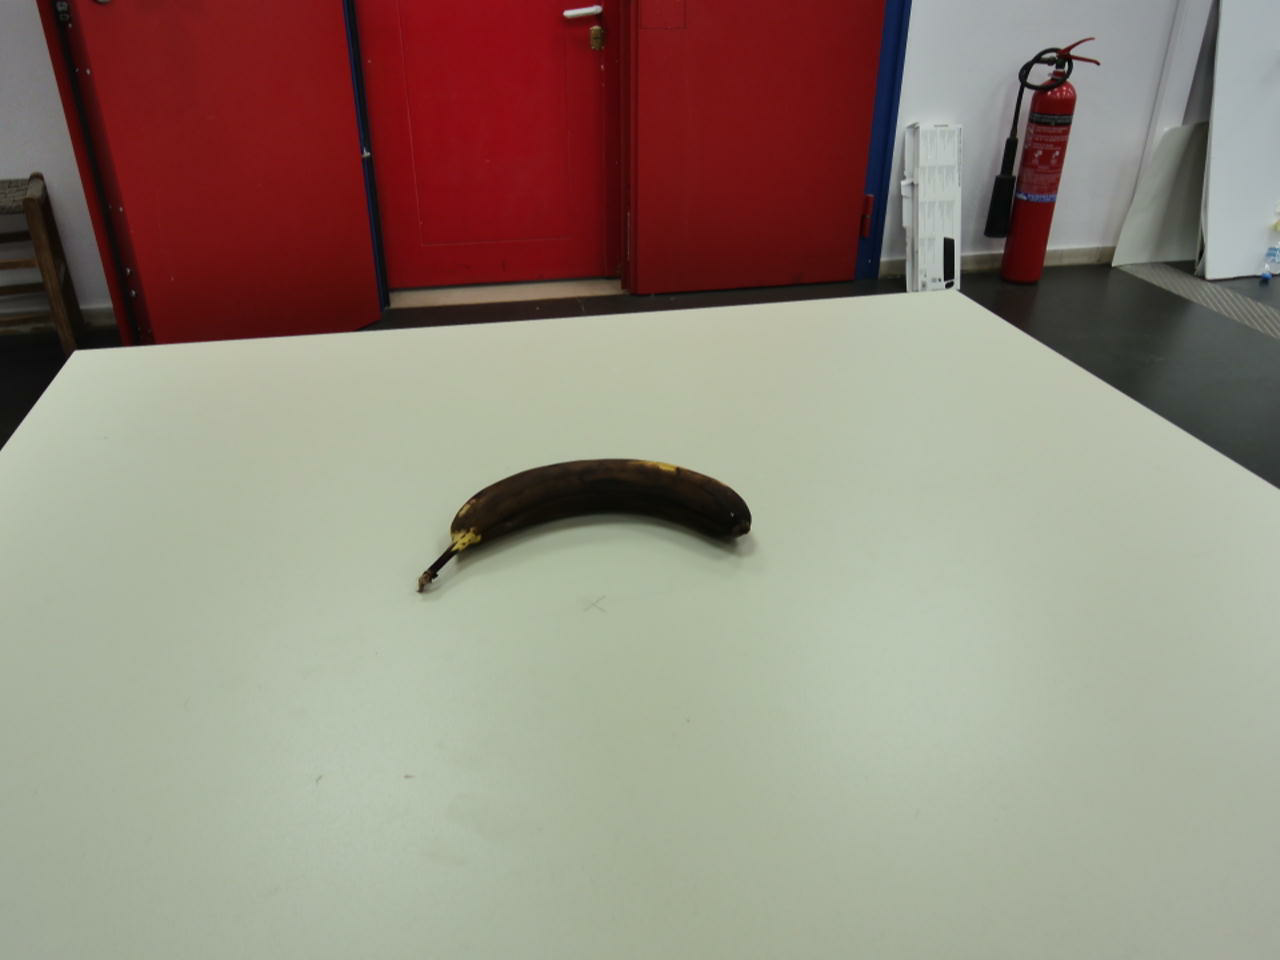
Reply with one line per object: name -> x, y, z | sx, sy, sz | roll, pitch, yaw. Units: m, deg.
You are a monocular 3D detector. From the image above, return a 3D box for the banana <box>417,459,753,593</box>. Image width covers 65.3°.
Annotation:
banana -> -0.033, 0.016, 0.580 | 0.188, 0.034, 0.091 | -5, 27, -10
